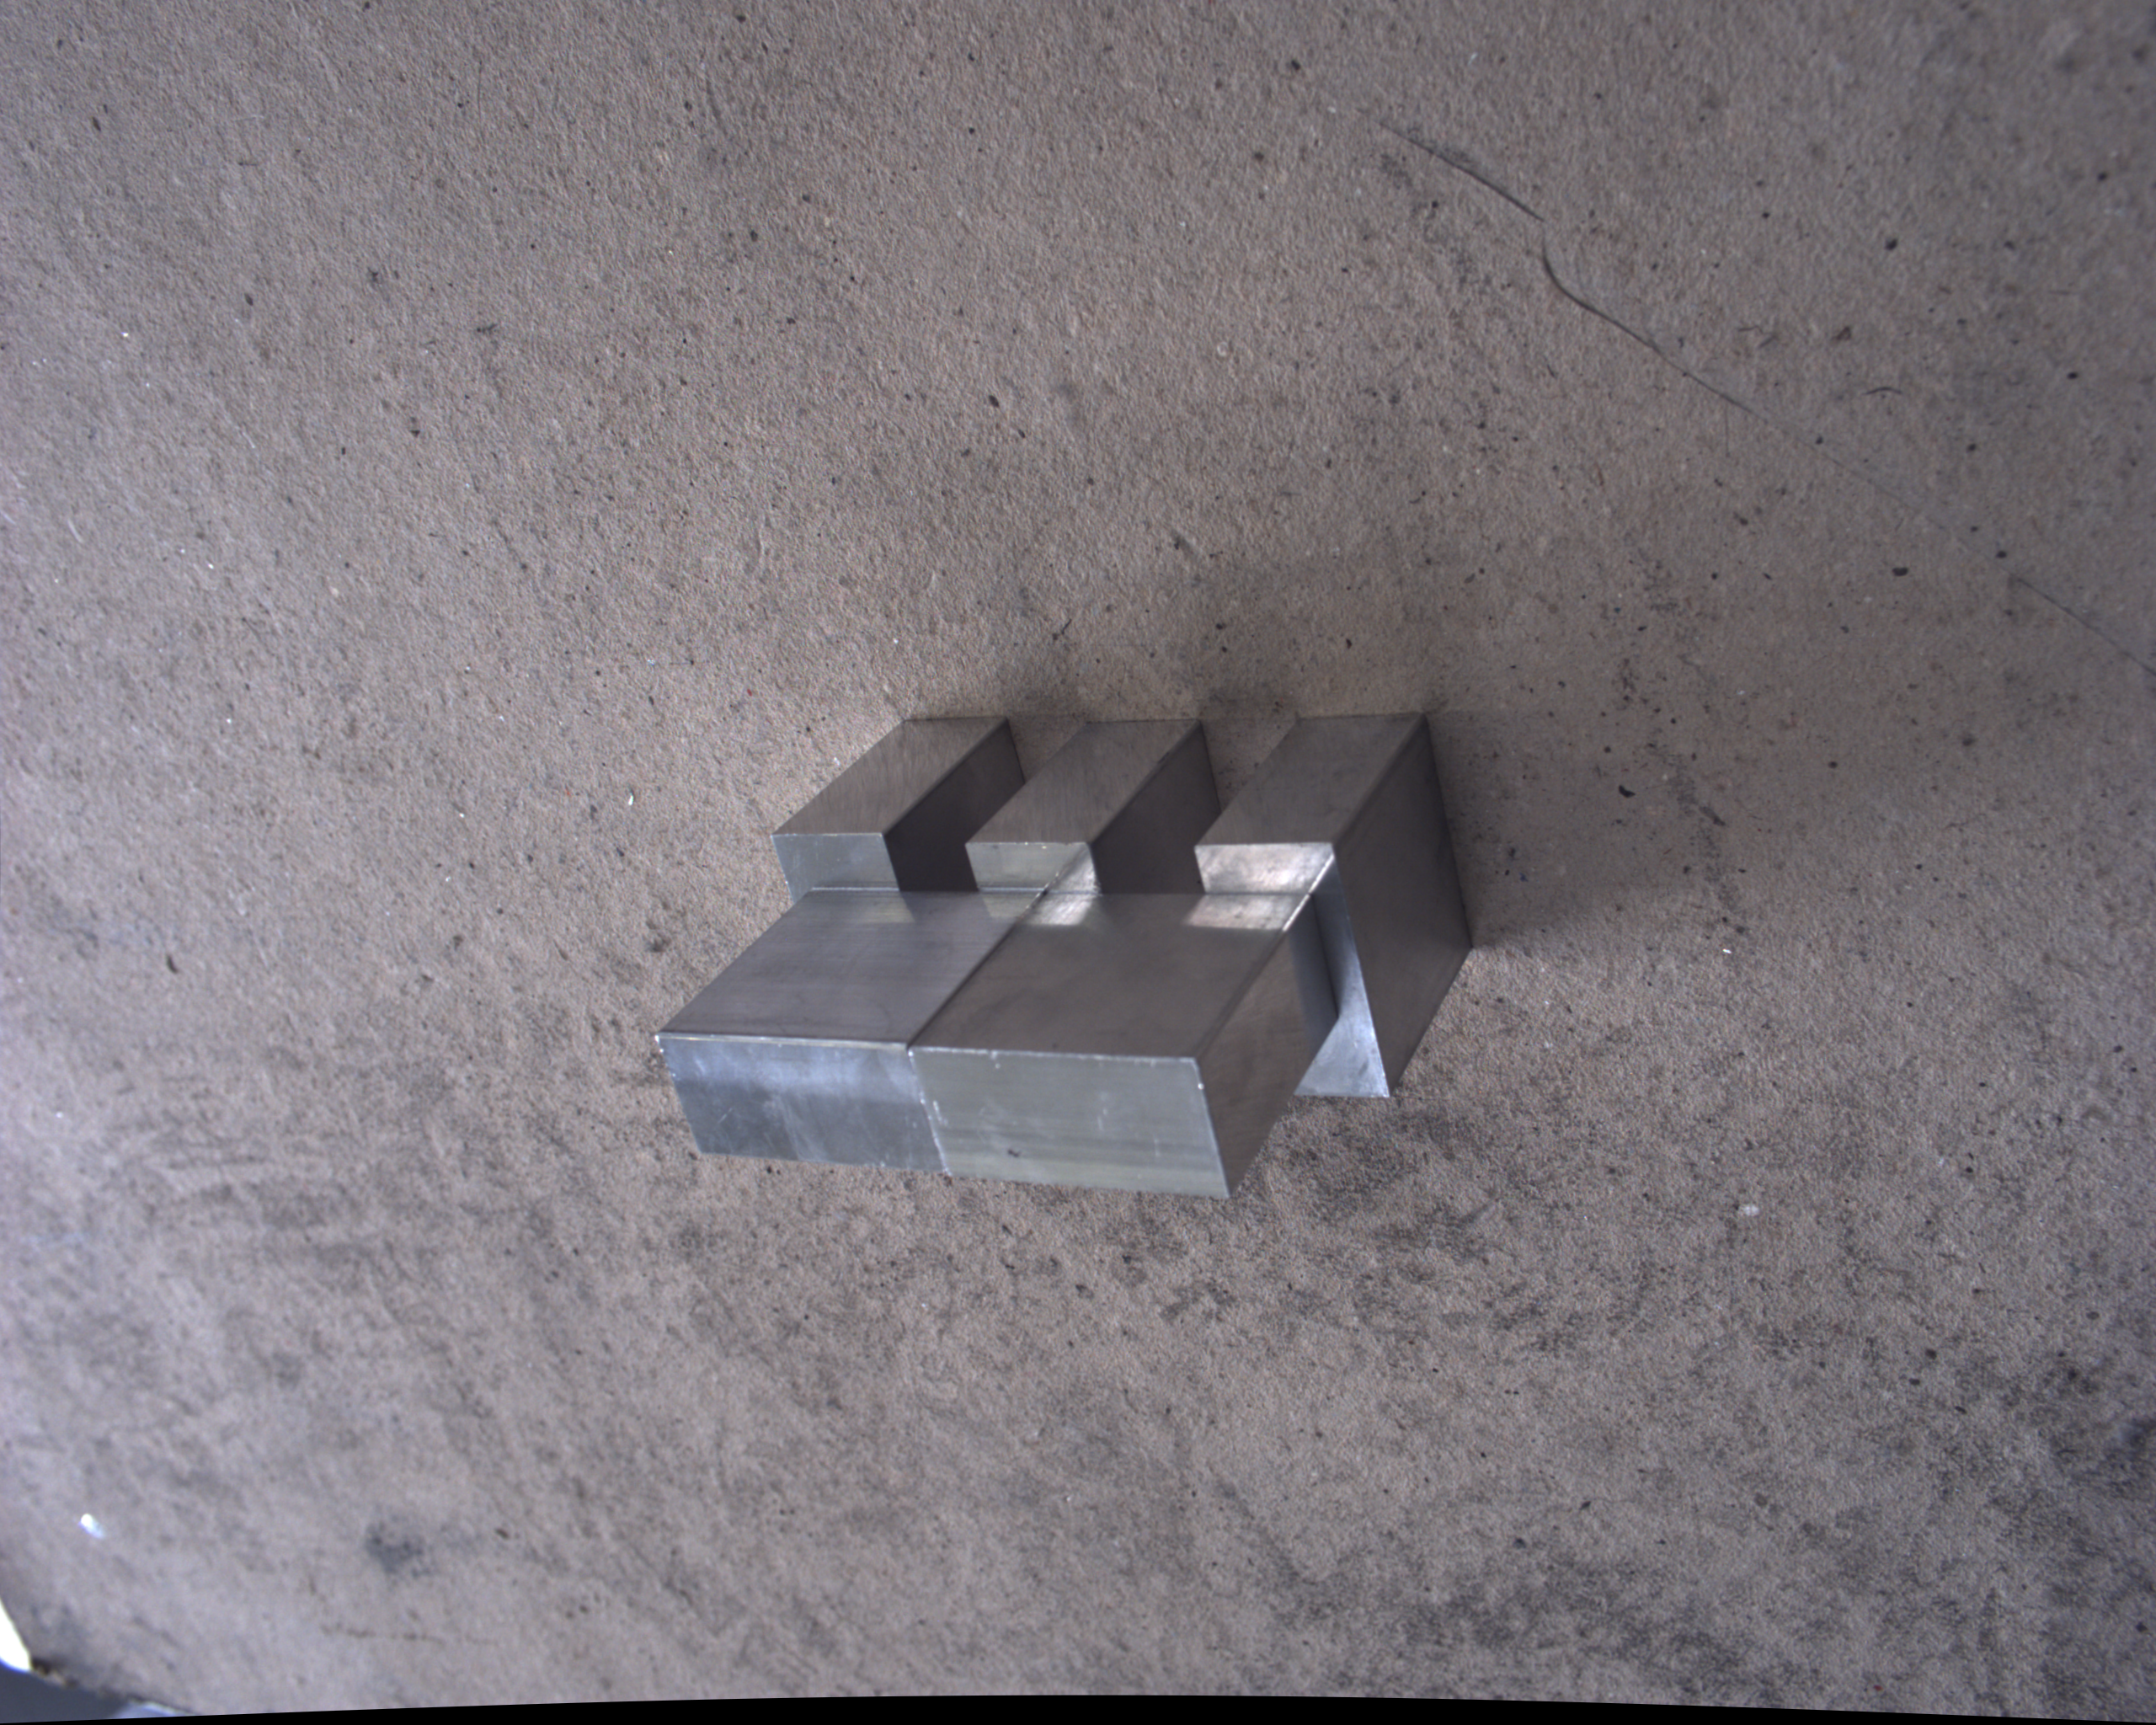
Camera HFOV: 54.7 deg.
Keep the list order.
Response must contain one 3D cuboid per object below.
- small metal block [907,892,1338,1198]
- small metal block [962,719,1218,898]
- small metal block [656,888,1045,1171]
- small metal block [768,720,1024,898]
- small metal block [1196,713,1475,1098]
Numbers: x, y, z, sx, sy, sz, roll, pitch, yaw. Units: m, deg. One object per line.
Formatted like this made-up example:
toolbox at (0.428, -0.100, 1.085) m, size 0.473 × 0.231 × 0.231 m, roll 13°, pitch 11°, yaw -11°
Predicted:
small metal block at (0.009, 0.028, 0.340) m, size 0.050 × 0.050 × 0.025 m, roll 0°, pitch 118°, yaw 28°
small metal block at (0.007, 0.006, 0.393) m, size 0.025 × 0.050 × 0.050 m, roll -1°, pitch 118°, yaw 29°
small metal block at (-0.036, 0.027, 0.364) m, size 0.050 × 0.050 × 0.025 m, roll 0°, pitch 118°, yaw 28°
small metal block at (-0.030, 0.005, 0.411) m, size 0.025 × 0.050 × 0.050 m, roll 0°, pitch 118°, yaw 29°
small metal block at (0.047, 0.007, 0.372) m, size 0.025 × 0.050 × 0.050 m, roll -1°, pitch 118°, yaw 29°
